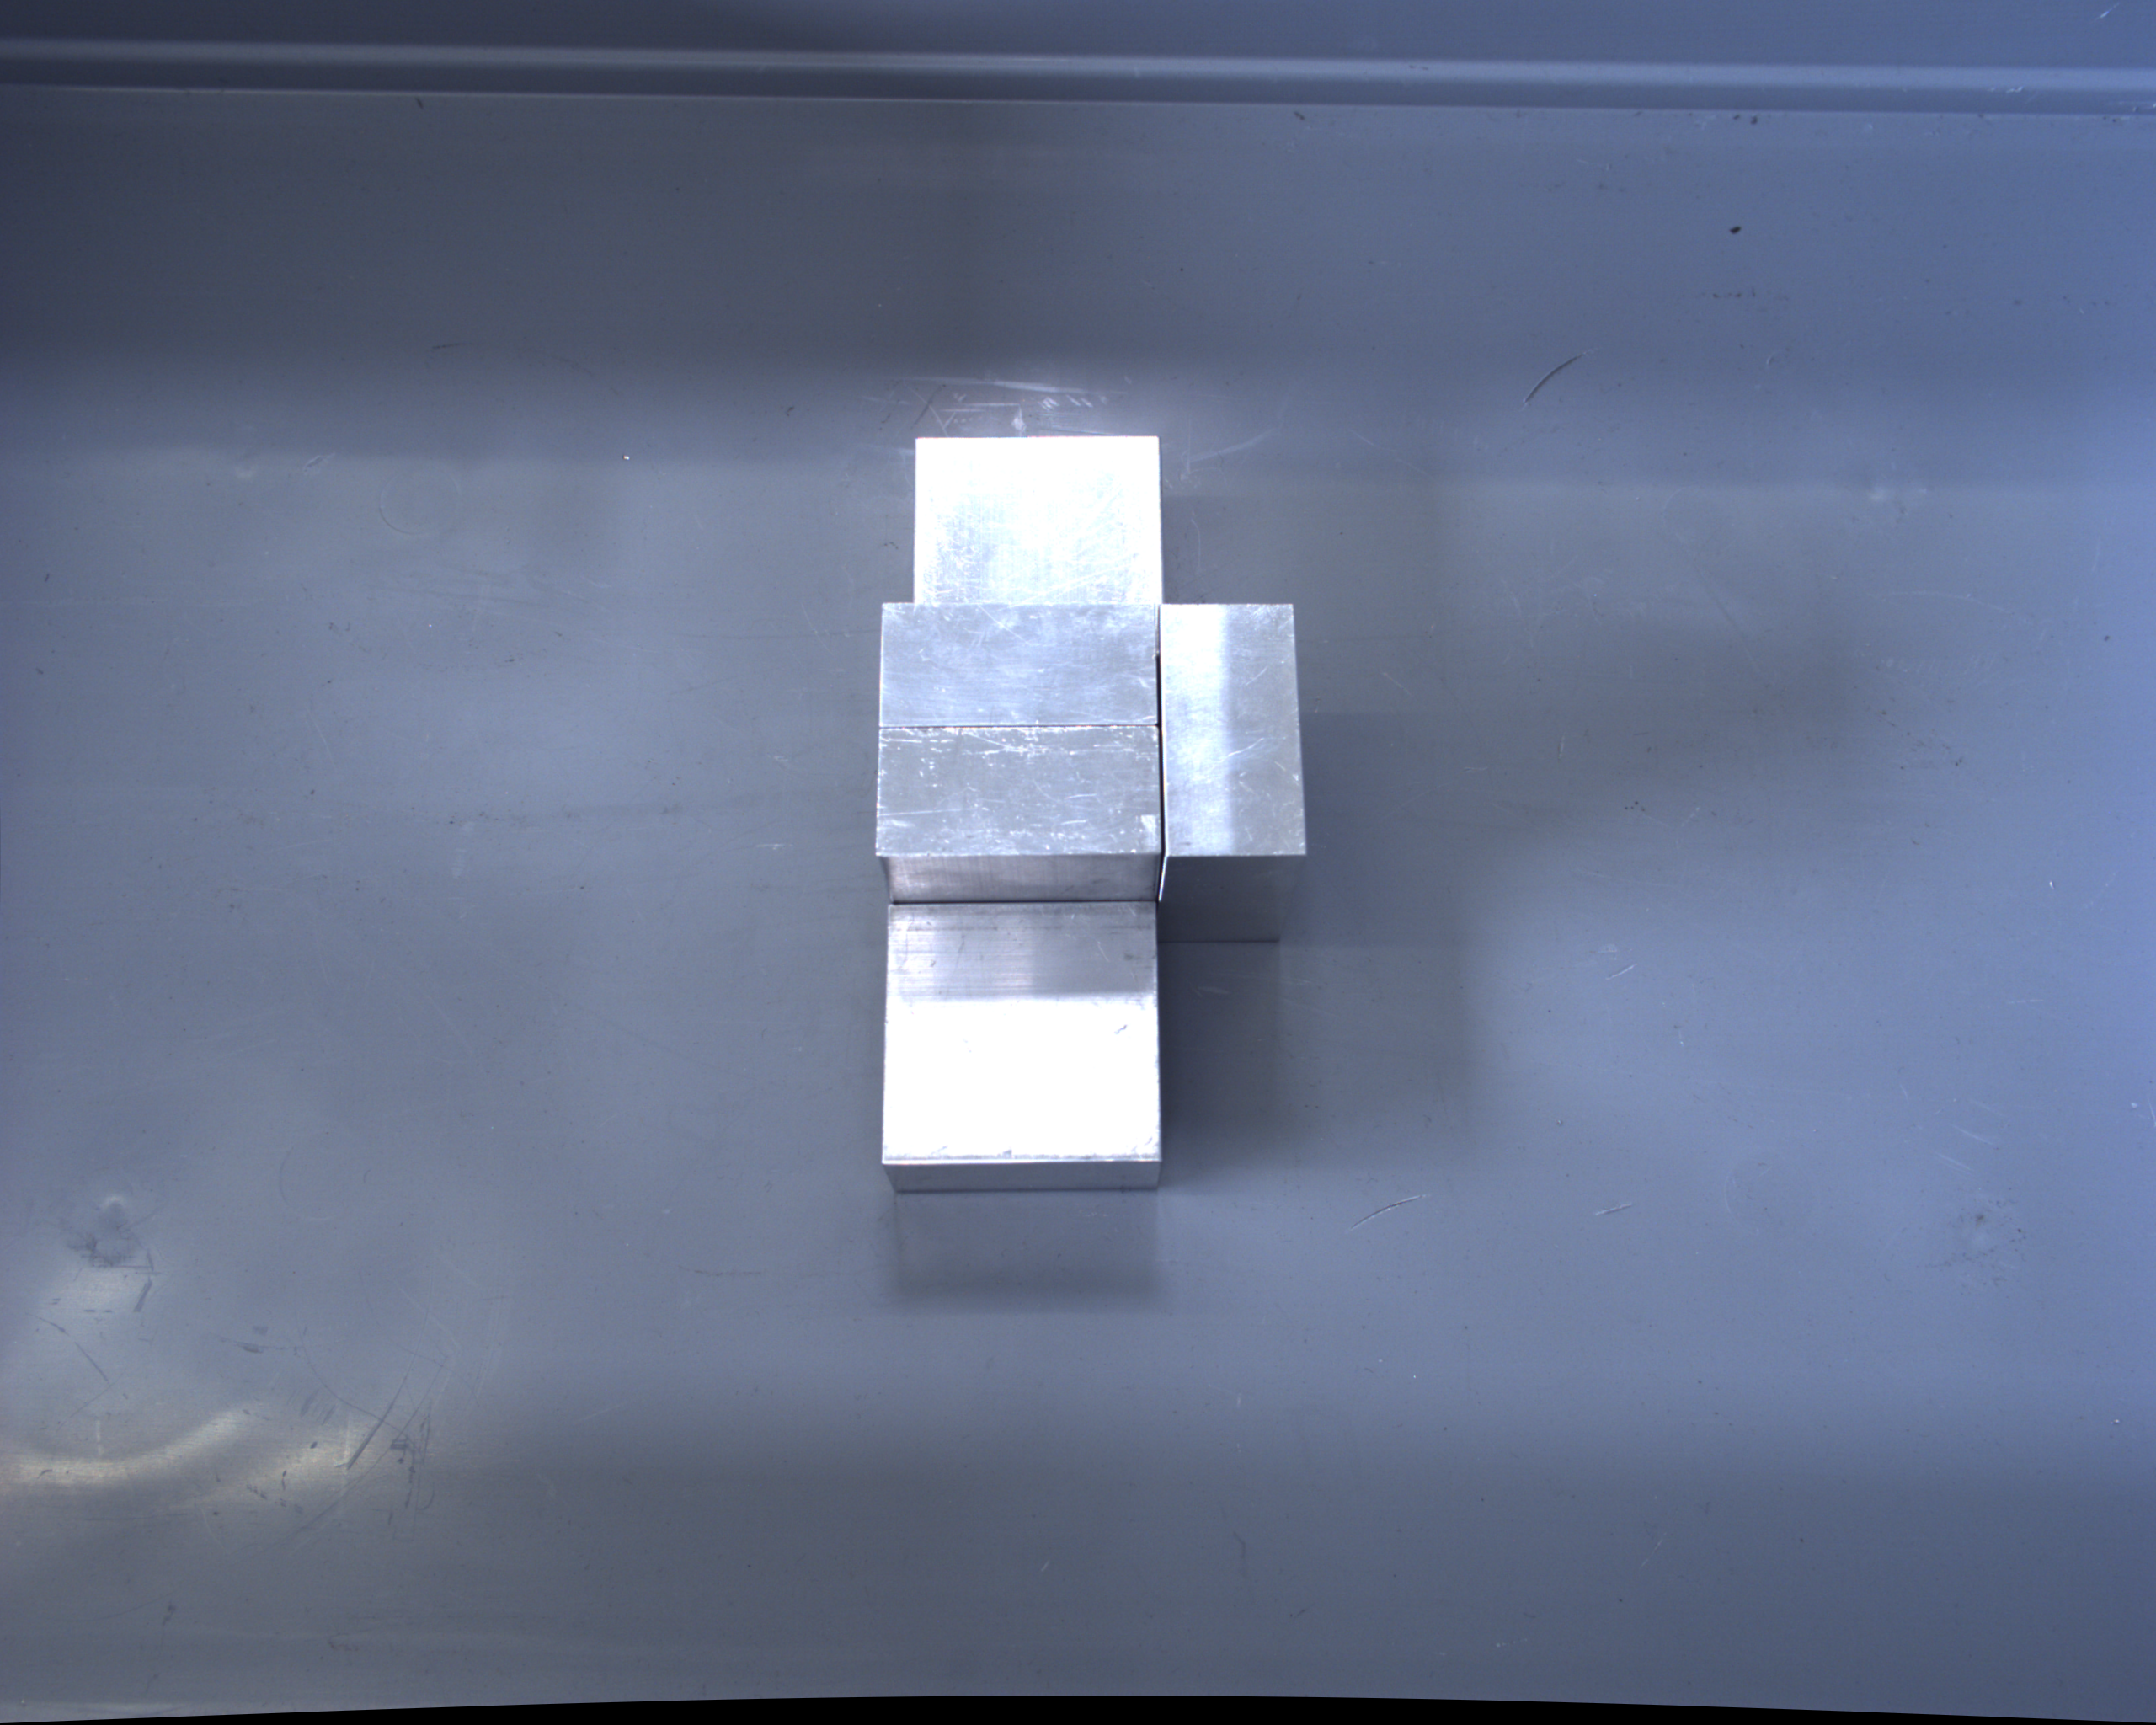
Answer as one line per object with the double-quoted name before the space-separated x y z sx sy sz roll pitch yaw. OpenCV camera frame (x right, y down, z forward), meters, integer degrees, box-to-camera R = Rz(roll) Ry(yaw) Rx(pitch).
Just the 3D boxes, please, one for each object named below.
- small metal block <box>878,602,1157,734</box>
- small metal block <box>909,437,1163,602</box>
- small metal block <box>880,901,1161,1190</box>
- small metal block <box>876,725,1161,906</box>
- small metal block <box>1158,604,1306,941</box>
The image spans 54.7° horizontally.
"small metal block" -0.011 -0.028 0.405 0.050 0.050 0.025 0 70 0
"small metal block" -0.008 -0.059 0.429 0.050 0.025 0.050 0 70 0
"small metal block" -0.010 0.035 0.395 0.050 0.025 0.050 0 70 0
"small metal block" -0.011 -0.005 0.396 0.050 0.050 0.025 0 70 0
"small metal block" 0.028 -0.016 0.400 0.025 0.050 0.050 0 70 0
